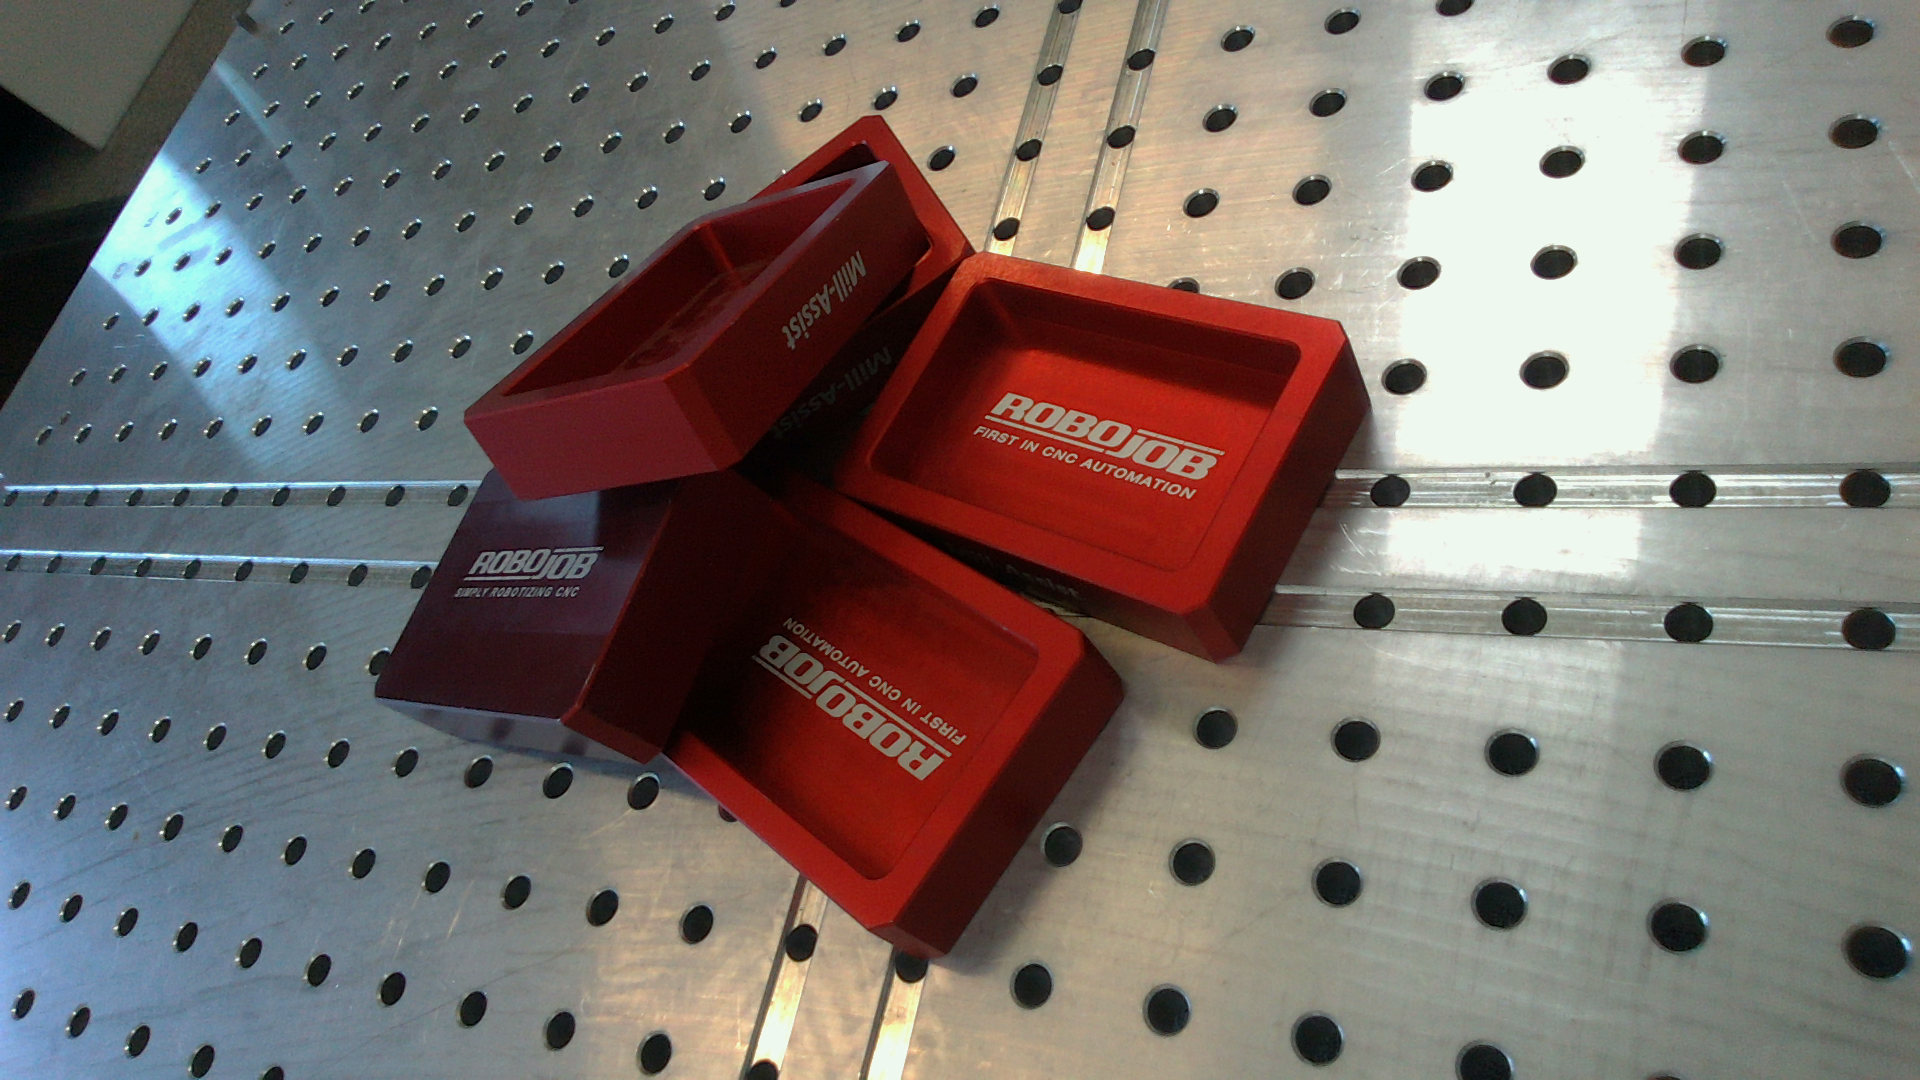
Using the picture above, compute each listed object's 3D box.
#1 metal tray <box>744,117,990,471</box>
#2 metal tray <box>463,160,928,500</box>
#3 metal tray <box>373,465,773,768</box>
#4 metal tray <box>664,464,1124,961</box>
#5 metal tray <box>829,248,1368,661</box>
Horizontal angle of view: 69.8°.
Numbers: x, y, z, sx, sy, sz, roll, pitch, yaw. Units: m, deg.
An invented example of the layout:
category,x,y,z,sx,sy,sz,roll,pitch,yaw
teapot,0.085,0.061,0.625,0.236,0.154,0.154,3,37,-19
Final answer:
category,x,y,z,sx,sy,sz,roll,pitch,yaw
metal tray,-0.060,-0.078,0.473,0.130,0.030,0.090,-34,50,6
metal tray,-0.077,-0.066,0.420,0.090,0.030,0.130,-6,34,34
metal tray,-0.123,0.017,0.427,0.129,0.030,0.090,-1,61,44
metal tray,-0.031,0.042,0.383,0.130,0.030,0.090,28,78,38
metal tray,0.036,-0.030,0.391,0.130,0.030,0.090,20,73,36
